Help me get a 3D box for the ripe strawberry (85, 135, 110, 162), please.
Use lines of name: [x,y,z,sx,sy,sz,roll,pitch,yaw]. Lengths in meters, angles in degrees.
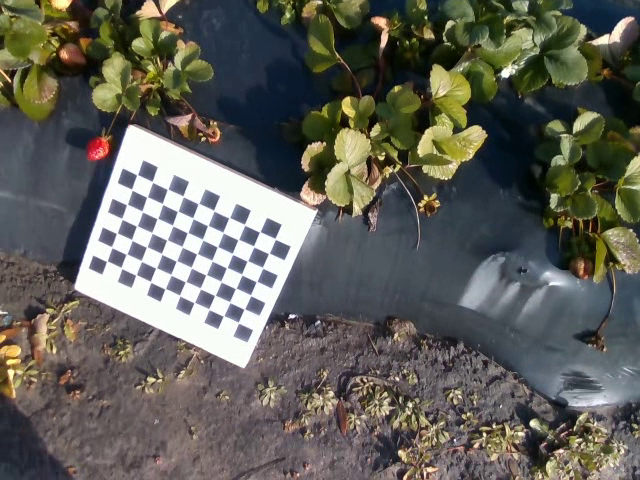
ripe strawberry: [-0.280,-0.112,0.793,0.034,0.038,0.033,24,-35,4]
